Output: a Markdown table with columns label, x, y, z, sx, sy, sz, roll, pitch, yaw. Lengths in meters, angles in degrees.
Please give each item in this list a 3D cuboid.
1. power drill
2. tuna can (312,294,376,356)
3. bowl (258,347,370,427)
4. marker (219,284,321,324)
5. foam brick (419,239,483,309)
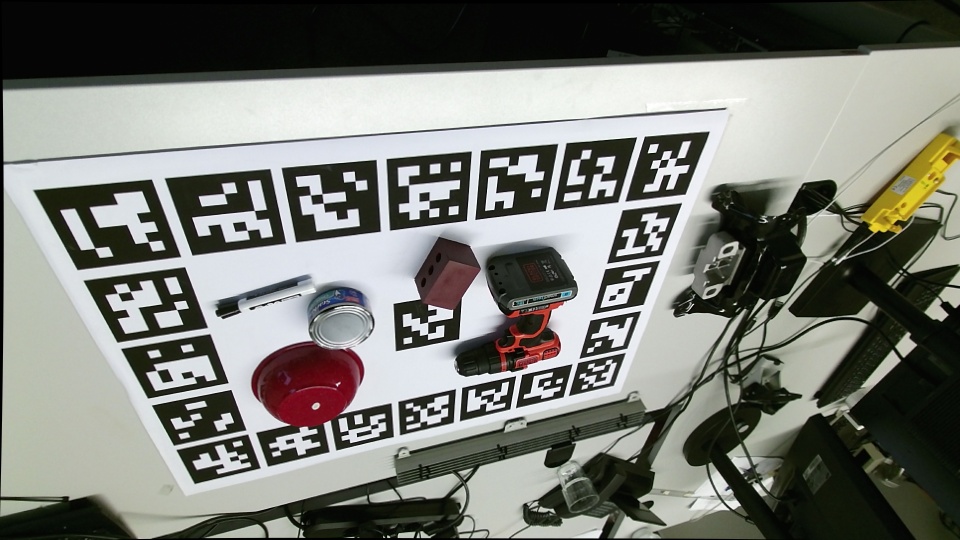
| label | x | y | z | sx | sy | sz | roll | pitch | yaw |
| --- | --- | --- | --- | --- | --- | --- | --- | --- | --- |
| power drill | 0.065 | 0.079 | 0.820 | 0.185 | 0.057 | 0.187 | -8 | 133 | -13 |
| tuna can | -0.182 | 0.074 | 0.721 | 0.086 | 0.033 | 0.086 | -10 | 131 | -12 |
| bowl | -0.237 | 0.182 | 0.788 | 0.162 | 0.055 | 0.162 | -15 | 139 | -14 |
| marker | -0.262 | 0.042 | 0.669 | 0.121 | 0.019 | 0.019 | -16 | 131 | -9 |
| foam brick | -0.040 | 0.006 | 0.721 | 0.051 | 0.052 | 0.078 | 13 | 120 | -30 |
